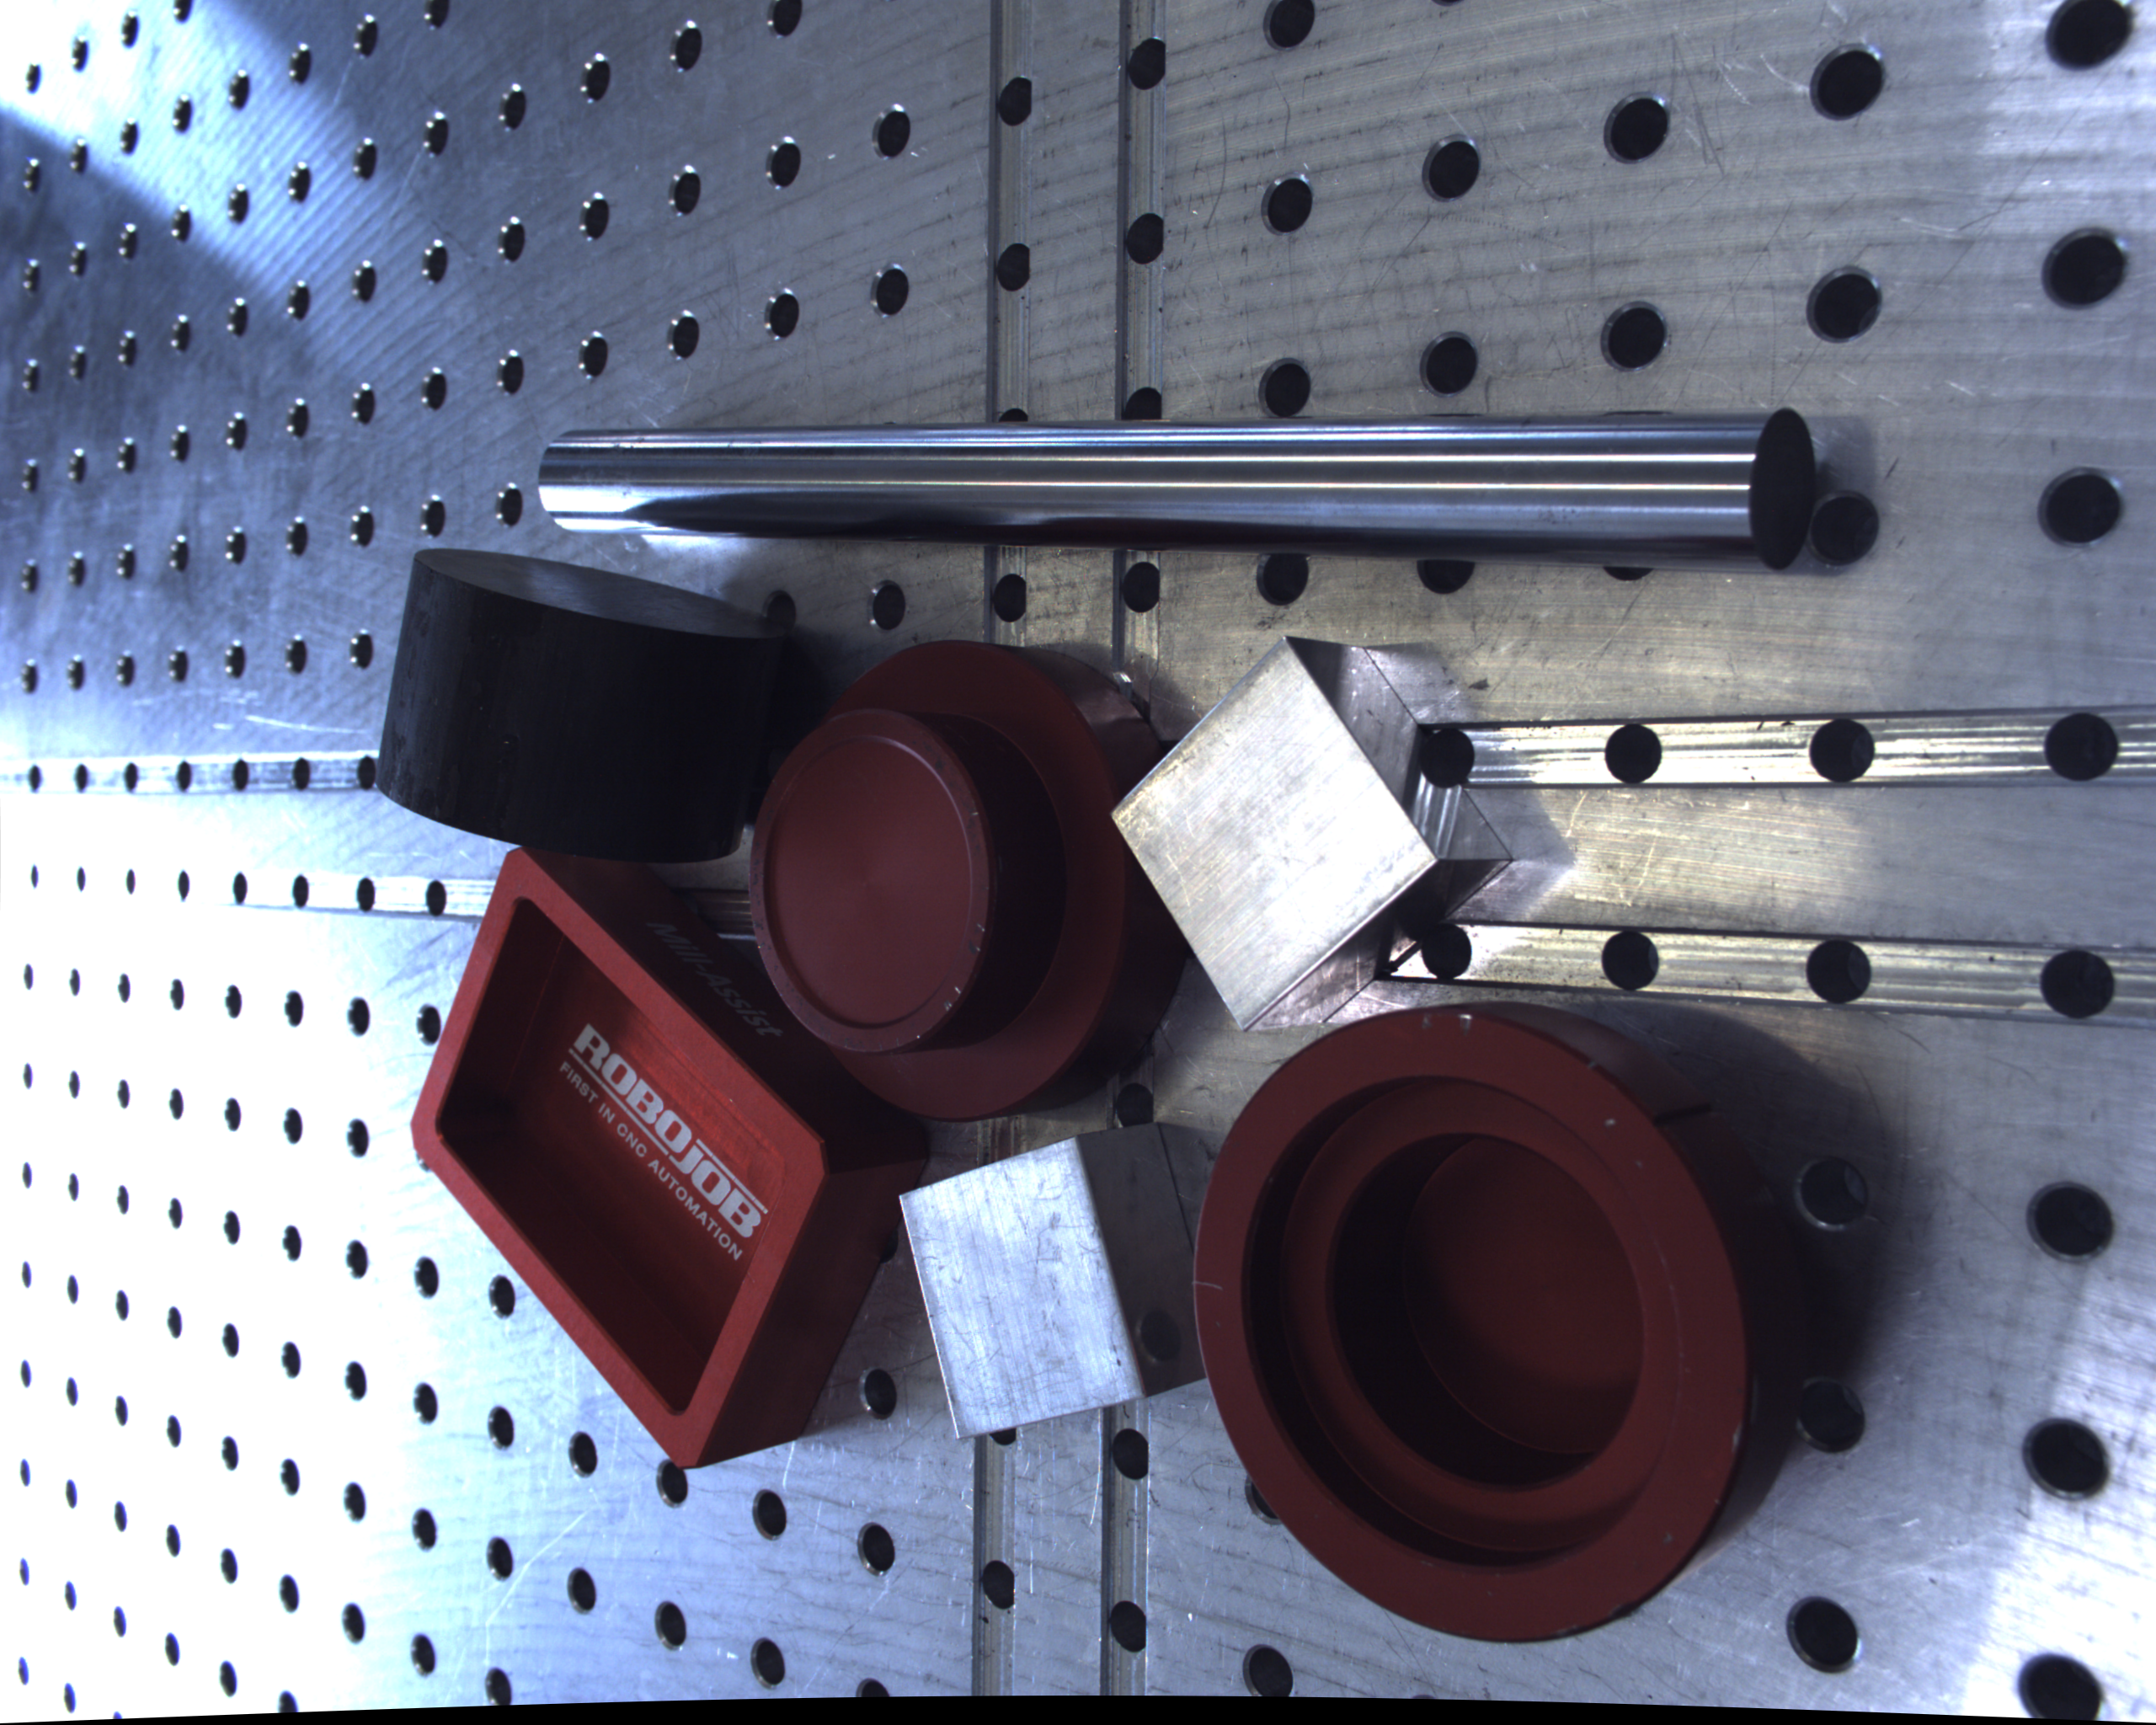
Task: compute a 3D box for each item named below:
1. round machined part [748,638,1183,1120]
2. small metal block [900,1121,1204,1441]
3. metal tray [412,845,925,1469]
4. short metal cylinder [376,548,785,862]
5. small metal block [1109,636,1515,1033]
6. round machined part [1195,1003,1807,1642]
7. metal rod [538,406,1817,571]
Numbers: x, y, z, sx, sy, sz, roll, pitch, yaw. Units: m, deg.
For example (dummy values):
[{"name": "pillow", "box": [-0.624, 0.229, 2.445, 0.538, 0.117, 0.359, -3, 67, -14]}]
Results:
[{"name": "round machined part", "box": [-0.028, 0.003, 0.421, 0.098, 0.042, 0.097, -3, 85, 39]}, {"name": "small metal block", "box": [-0.003, 0.083, 0.413, 0.050, 0.025, 0.050, -24, 75, 37]}, {"name": "metal tray", "box": [-0.101, 0.065, 0.489, 0.130, 0.030, 0.089, 38, 114, 33]}, {"name": "short metal cylinder", "box": [-0.110, -0.036, 0.464, 0.080, 0.081, 0.050, 23, 104, 38]}, {"name": "small metal block", "box": [0.041, -0.005, 0.376, 0.050, 0.025, 0.050, -46, 63, 30]}, {"name": "round machined part", "box": [0.071, 0.071, 0.340, 0.098, 0.042, 0.097, 0, 90, 40]}, {"name": "metal rod", "box": [-0.006, -0.075, 0.414, 0.300, 0.025, 0.025, 9, 96, 39]}]
